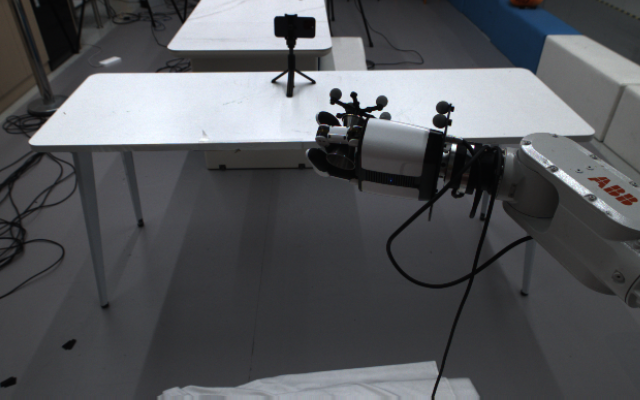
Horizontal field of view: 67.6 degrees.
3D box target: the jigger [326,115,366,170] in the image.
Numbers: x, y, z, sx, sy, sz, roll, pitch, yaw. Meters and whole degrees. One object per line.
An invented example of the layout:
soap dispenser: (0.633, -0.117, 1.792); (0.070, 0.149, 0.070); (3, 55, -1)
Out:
jigger: (0.042, -0.083, 0.686); (0.043, 0.043, 0.071); (13, 70, 16)
